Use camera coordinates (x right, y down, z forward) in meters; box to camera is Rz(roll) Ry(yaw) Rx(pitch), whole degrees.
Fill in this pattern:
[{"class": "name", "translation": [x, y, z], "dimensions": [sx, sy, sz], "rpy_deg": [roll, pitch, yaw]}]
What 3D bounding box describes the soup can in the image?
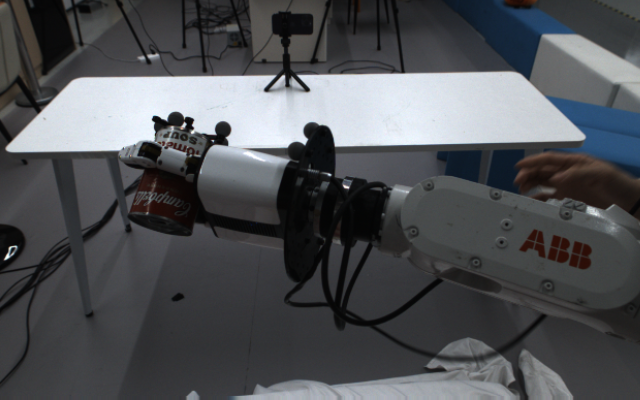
[{"class": "soup can", "translation": [-0.155, -0.018, 0.519], "dimensions": [0.067, 0.067, 0.101], "rpy_deg": [8, 71, 9]}]
